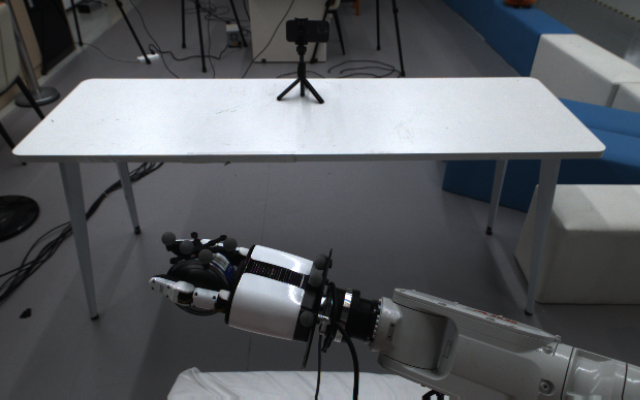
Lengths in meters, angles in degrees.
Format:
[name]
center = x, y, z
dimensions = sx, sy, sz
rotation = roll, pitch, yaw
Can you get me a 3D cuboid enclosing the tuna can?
[tuna can]
center = -0.151, 0.107, 0.628
dimensions = 0.085, 0.085, 0.034
rotation = 6, 22, 5
